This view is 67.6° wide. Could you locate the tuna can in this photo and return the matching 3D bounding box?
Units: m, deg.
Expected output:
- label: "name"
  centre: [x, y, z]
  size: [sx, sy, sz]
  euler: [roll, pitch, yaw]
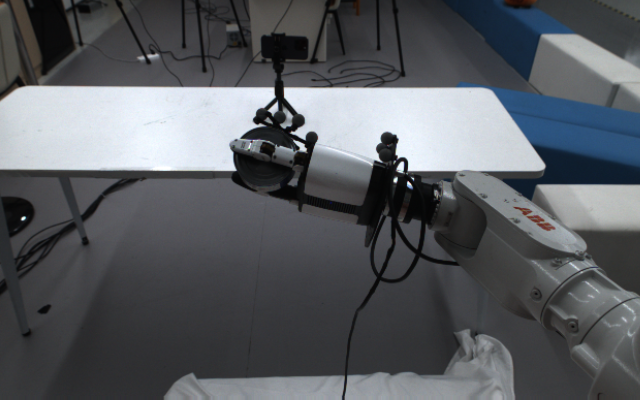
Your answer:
- label: "tuna can"
  centre: [-0.073, -0.057, 0.666]
  size: [0.085, 0.034, 0.085]
  euler: [0, 72, 0]
